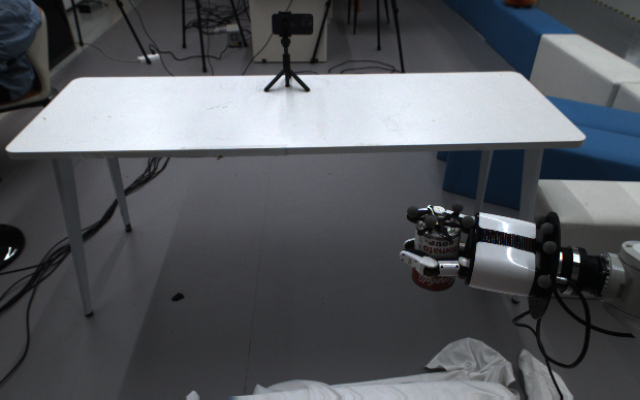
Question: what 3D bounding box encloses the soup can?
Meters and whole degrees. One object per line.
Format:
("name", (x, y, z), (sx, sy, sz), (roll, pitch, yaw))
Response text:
("soup can", (0.179, 0.078, 0.744), (0.067, 0.101, 0.067), (-2, 33, 1))
